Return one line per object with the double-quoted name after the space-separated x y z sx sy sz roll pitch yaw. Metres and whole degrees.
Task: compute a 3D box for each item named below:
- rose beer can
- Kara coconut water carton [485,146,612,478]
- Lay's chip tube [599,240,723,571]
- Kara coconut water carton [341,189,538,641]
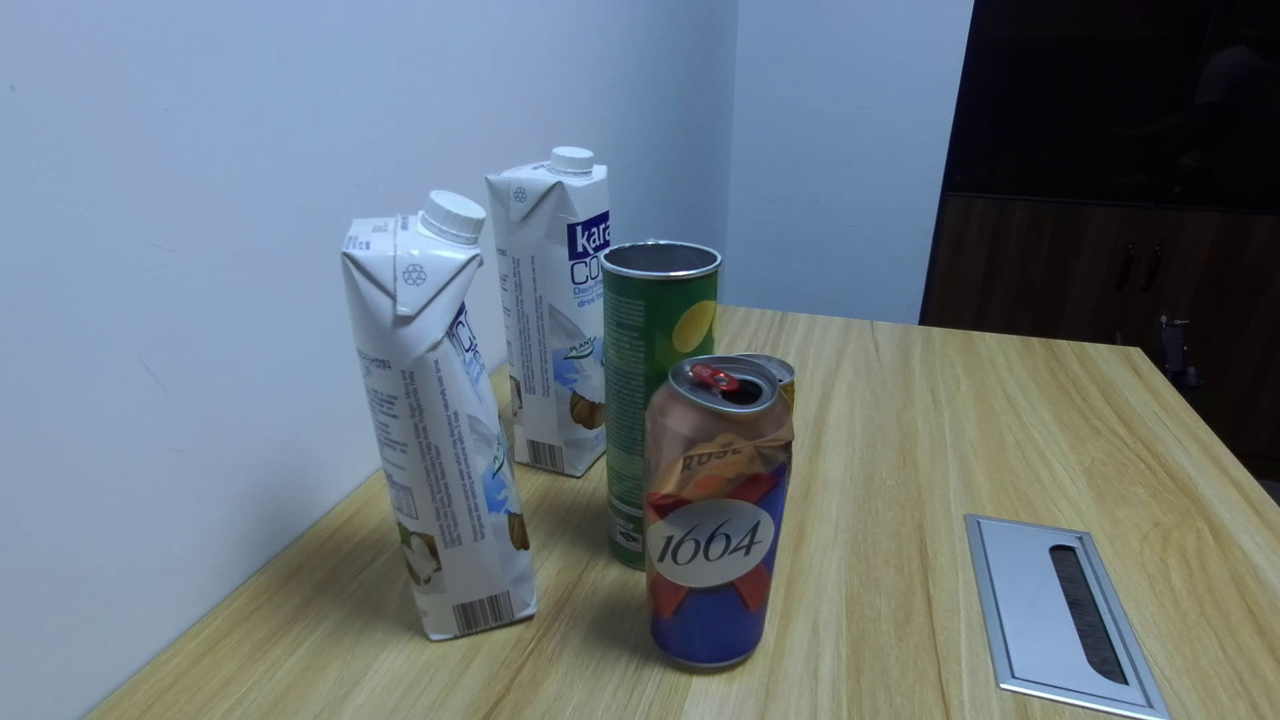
0.039 0.084 0.374 0.076 0.167 0.065 1 27 -4 "rose beer can"
-0.061 -0.035 0.543 0.075 0.245 0.077 10 25 26 "Kara coconut water carton"
0.012 0.030 0.447 0.071 0.202 0.071 0 25 0 "Lay's chip tube"
-0.106 0.033 0.391 0.071 0.244 0.099 -9 28 -13 "Kara coconut water carton"
